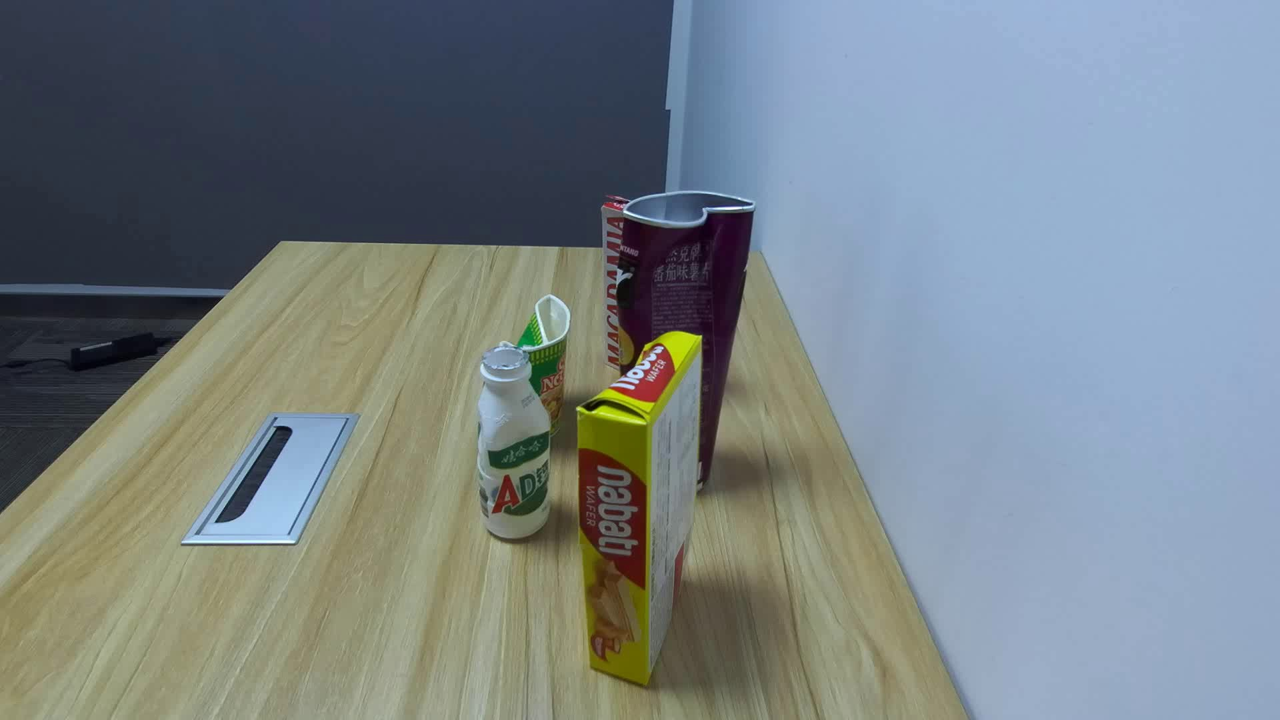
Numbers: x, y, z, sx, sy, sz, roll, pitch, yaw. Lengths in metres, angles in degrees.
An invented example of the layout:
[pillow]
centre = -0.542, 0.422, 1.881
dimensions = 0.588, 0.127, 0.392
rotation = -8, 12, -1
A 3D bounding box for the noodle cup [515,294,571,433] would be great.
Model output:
[noodle cup]
centre = -0.102, 0.013, 0.620
dimensions = 0.083, 0.122, 0.075
rotation = -16, 44, -40

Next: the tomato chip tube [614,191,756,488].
[tomato chip tube]
centre = 0.028, -0.005, 0.539
dimensions = 0.077, 0.235, 0.076
rotation = 19, 36, 23

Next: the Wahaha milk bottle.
[Wahaha milk bottle]
centre = -0.092, 0.059, 0.508
dimensions = 0.055, 0.149, 0.055
rotation = 2, 31, -1

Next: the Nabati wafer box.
[Nabati wafer box]
centre = 0.004, 0.086, 0.422
dimensions = 0.042, 0.204, 0.107
rotation = 11, 33, 16
